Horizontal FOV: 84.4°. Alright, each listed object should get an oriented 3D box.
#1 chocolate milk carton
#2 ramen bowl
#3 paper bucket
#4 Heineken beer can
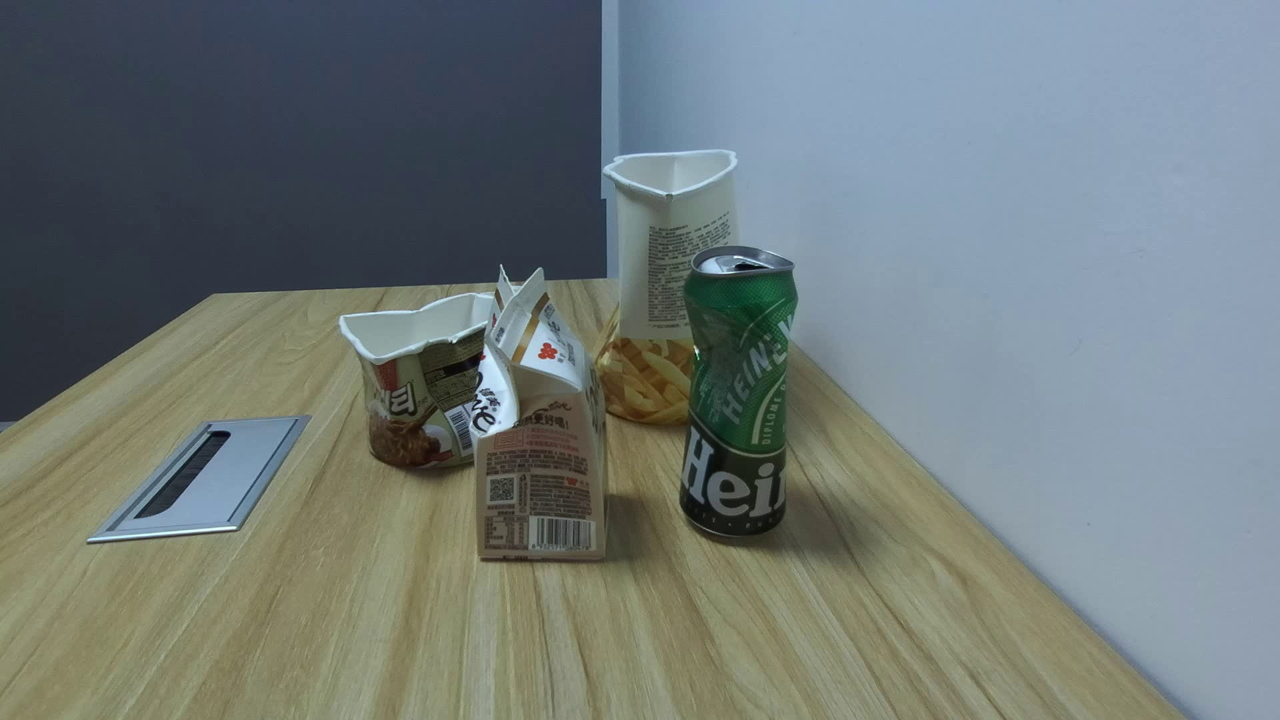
[{"bbox_3d":[-0.058,0.028,0.401,0.073,0.155,0.076,-2,22,1],"label":"chocolate milk carton"},{"bbox_3d":[-0.141,0.011,0.523,0.129,0.093,0.111,-18,27,-32],"label":"ramen bowl"},{"bbox_3d":[0.026,-0.064,0.579,0.148,0.199,0.217,-9,23,-25],"label":"paper bucket"},{"bbox_3d":[0.056,0.020,0.408,0.066,0.164,0.078,6,24,18],"label":"Heineken beer can"}]
